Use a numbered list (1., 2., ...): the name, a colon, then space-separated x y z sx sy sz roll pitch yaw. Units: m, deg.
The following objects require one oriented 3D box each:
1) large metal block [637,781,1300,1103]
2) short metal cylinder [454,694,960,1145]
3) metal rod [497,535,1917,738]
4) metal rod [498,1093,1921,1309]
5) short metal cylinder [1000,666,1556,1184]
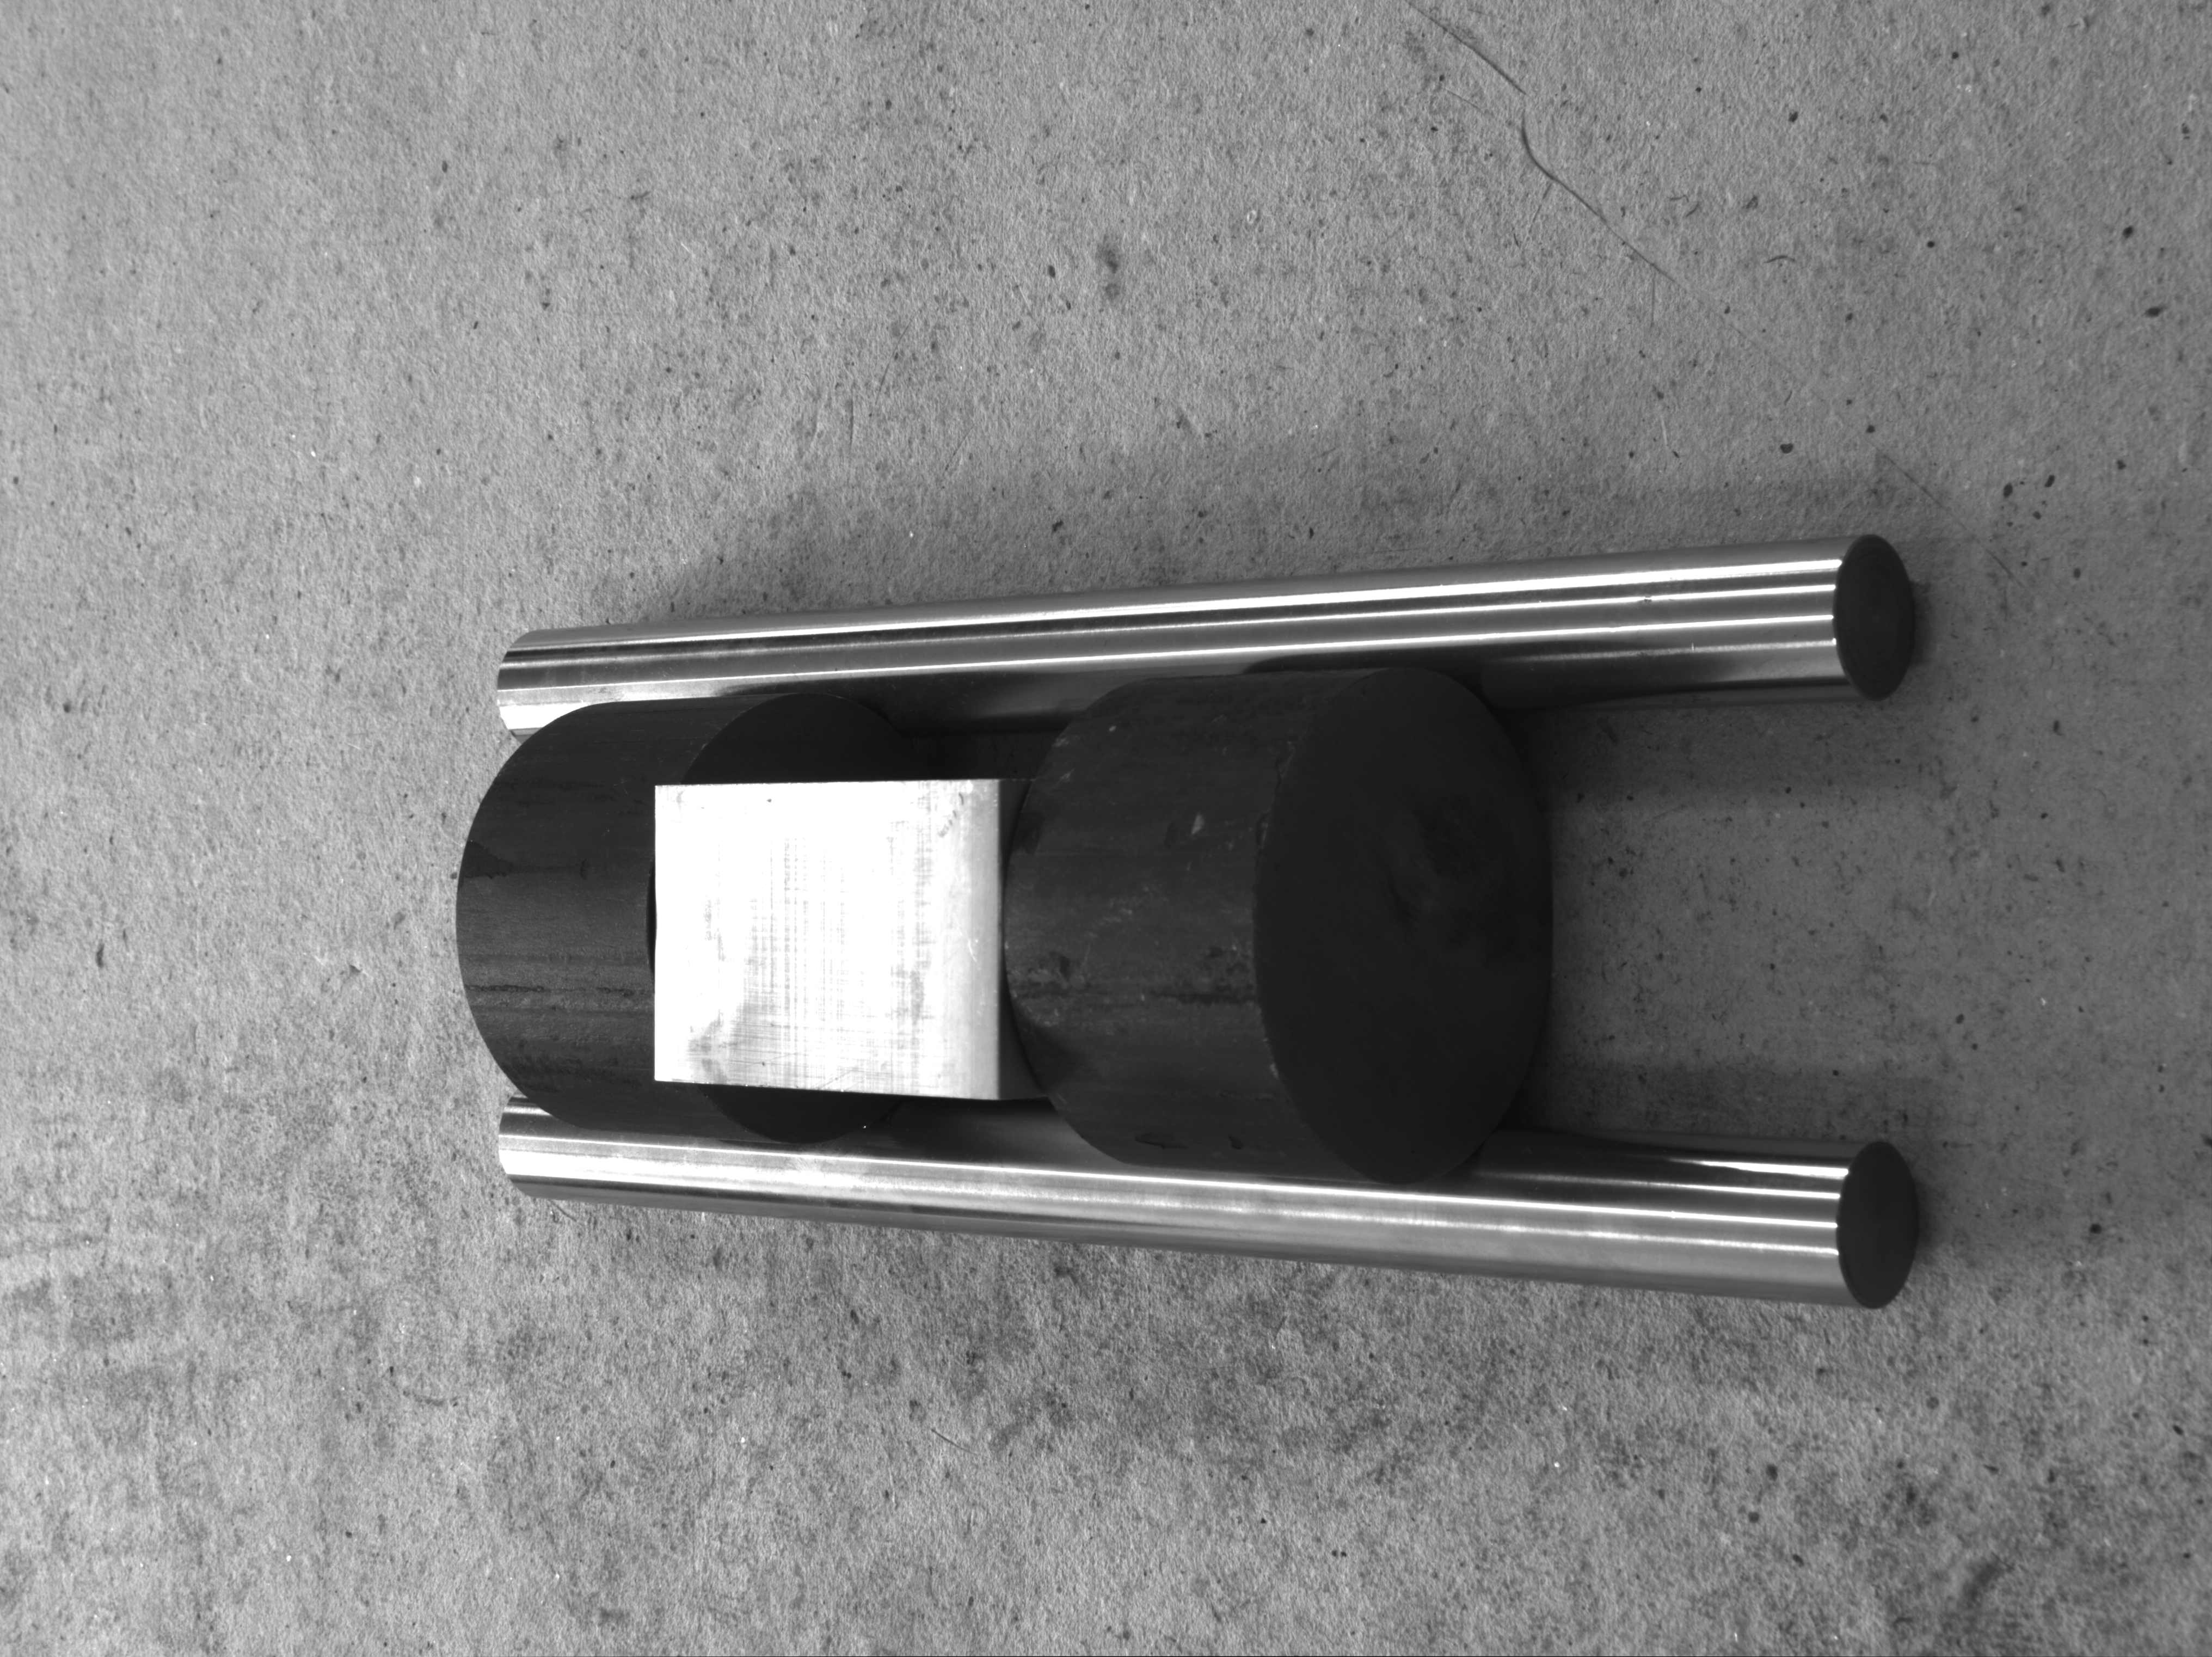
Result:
1. large metal block: -0.023 0.018 0.626 0.080 0.080 0.050 0 90 40
2. short metal cylinder: -0.071 0.016 0.669 0.050 0.080 0.080 -1 89 40
3. metal rod: 0.001 -0.030 0.645 0.299 0.025 0.025 -1 89 40
4. metal rod: 0.001 0.061 0.645 0.299 0.025 0.025 -1 89 40
5. short metal cylinder: 0.029 0.015 0.585 0.050 0.080 0.080 -1 89 40
